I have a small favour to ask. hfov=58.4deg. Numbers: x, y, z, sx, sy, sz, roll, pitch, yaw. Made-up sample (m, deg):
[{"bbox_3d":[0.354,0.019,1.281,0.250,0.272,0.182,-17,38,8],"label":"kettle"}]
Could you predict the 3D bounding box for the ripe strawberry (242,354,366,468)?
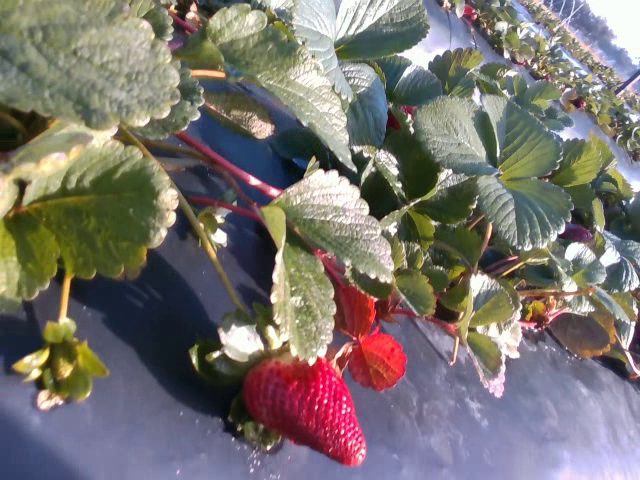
[{"bbox_3d":[-0.004,0.064,0.206,0.040,0.041,0.056,-29,57,-29],"label":"ripe strawberry"}]
